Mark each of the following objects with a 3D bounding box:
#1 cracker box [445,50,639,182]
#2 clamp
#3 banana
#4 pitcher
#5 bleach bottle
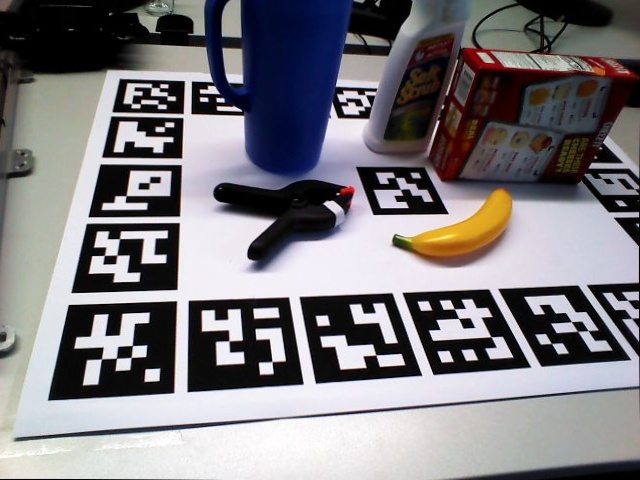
[{"bbox_3d":[0.289,-0.162,0.692,0.213,0.165,0.071,-2,40,-9],"label":"cracker box"},{"bbox_3d":[-0.026,-0.029,0.607,0.164,0.037,0.122,-13,44,-25],"label":"clamp"},{"bbox_3d":[0.193,-0.014,0.639,0.196,0.039,0.074,-30,54,-35],"label":"banana"},{"bbox_3d":[-0.046,-0.209,0.617,0.188,0.244,0.133,-14,46,-27],"label":"pitcher"},{"bbox_3d":[0.128,-0.228,0.696,0.102,0.252,0.067,-2,42,-12],"label":"bleach bottle"}]
